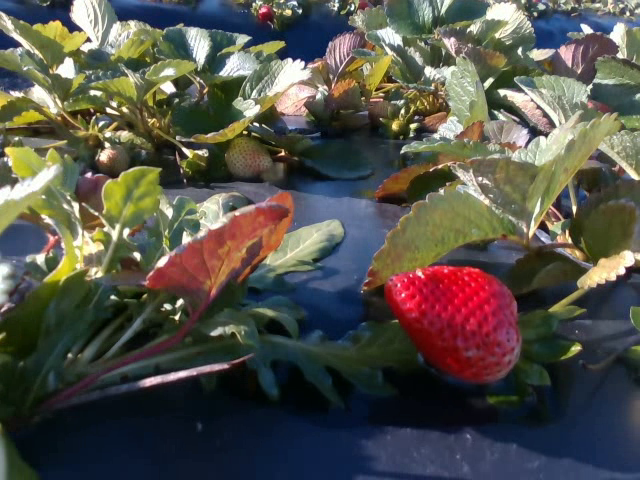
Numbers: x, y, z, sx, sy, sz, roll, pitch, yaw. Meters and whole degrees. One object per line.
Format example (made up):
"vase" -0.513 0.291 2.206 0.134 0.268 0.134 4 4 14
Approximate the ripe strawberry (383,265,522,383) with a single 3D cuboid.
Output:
"ripe strawberry" 0.037 0.022 0.184 0.054 0.043 0.036 22 -34 -20
